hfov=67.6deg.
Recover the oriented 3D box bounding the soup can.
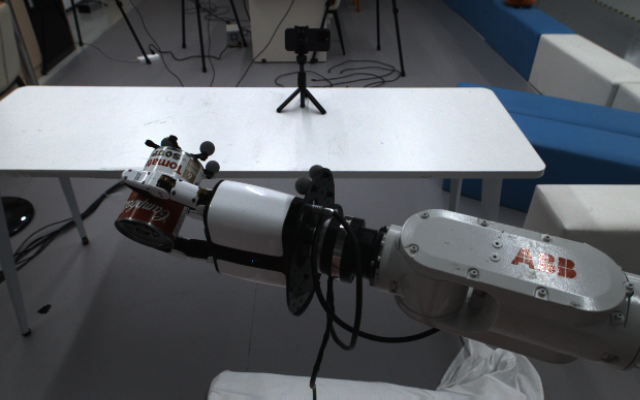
[{"bbox_3d":[-0.182,-0.002,0.563,0.067,0.067,0.101,9,60,10],"label":"soup can"}]
